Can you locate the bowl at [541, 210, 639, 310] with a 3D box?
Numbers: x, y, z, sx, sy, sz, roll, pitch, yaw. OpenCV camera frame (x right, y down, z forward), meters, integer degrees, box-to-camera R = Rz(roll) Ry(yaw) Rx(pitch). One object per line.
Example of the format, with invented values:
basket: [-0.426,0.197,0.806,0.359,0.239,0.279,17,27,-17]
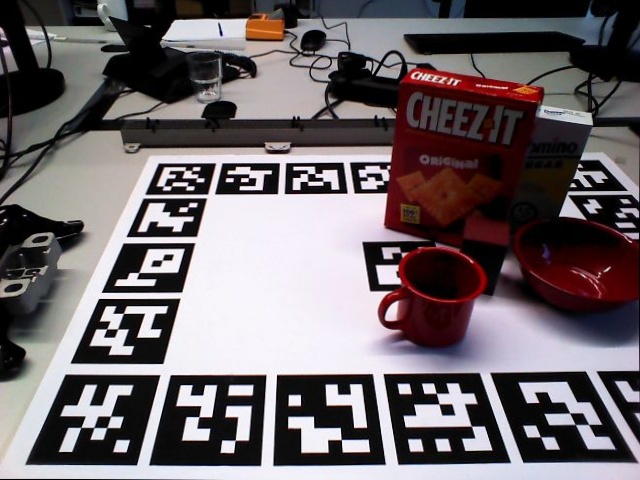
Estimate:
bowl: [0.333,0.031,0.609,0.162,0.055,0.161,-1,39,0]

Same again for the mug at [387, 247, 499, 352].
mug: [0.129,0.067,0.555,0.117,0.081,0.093,-8,30,-6]

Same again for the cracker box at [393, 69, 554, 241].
cracker box: [0.191,-0.101,0.670,0.165,0.214,0.071,19,40,22]

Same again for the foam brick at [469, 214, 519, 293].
foam brick: [0.209,0.017,0.635,0.053,0.078,0.051,8,38,12]

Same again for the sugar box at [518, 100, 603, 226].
sugar box: [0.302,-0.097,0.692,0.093,0.177,0.045,12,40,16]
